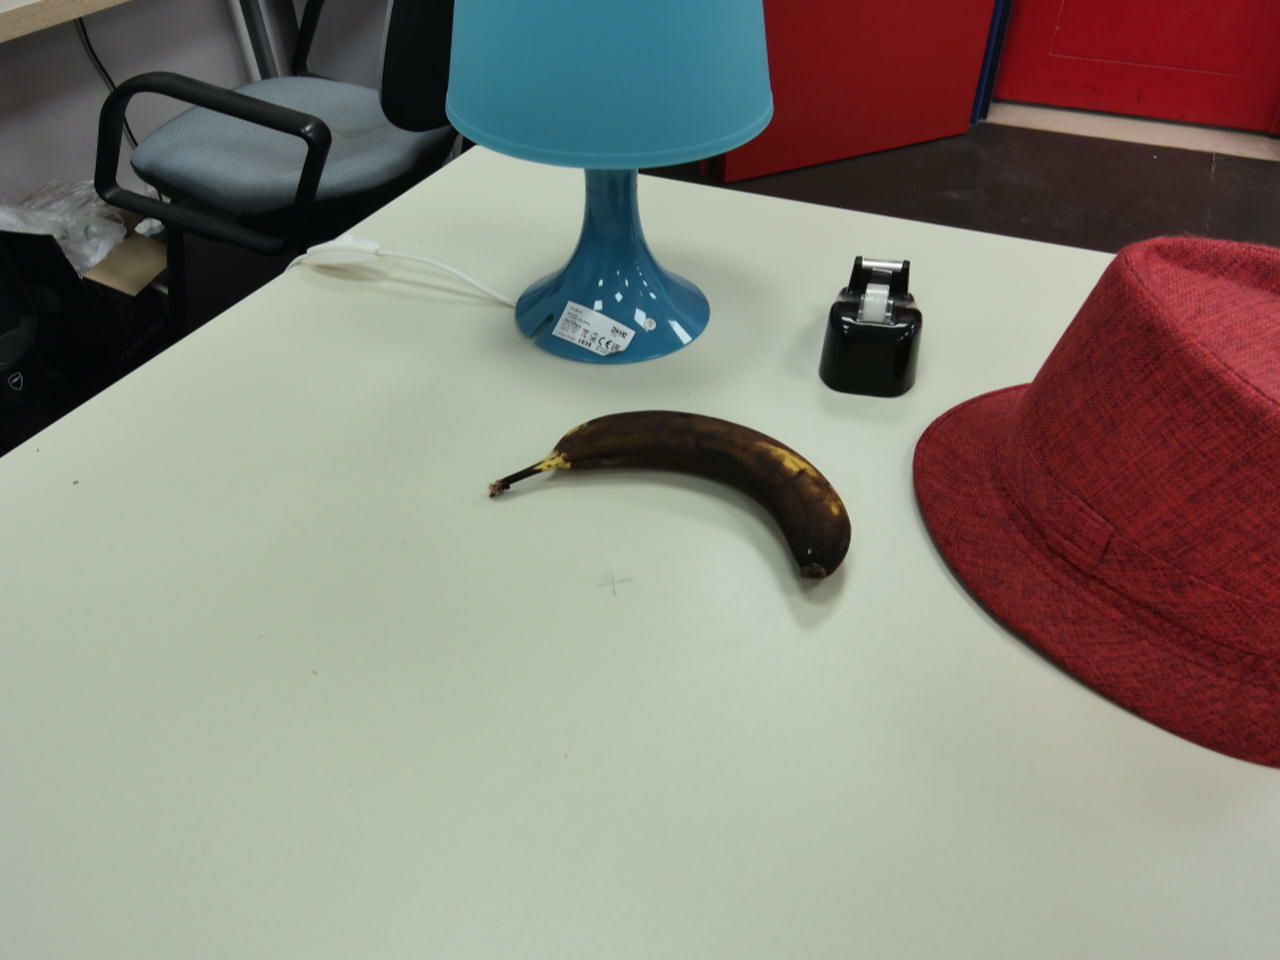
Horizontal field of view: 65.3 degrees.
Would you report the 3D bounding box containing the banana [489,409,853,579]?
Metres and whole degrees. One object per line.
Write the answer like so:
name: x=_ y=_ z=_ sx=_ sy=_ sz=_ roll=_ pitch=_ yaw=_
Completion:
banana: x=0.023 y=-0.004 z=0.517 sx=0.188 sy=0.034 sz=0.091 roll=16 pitch=42 yaw=21
